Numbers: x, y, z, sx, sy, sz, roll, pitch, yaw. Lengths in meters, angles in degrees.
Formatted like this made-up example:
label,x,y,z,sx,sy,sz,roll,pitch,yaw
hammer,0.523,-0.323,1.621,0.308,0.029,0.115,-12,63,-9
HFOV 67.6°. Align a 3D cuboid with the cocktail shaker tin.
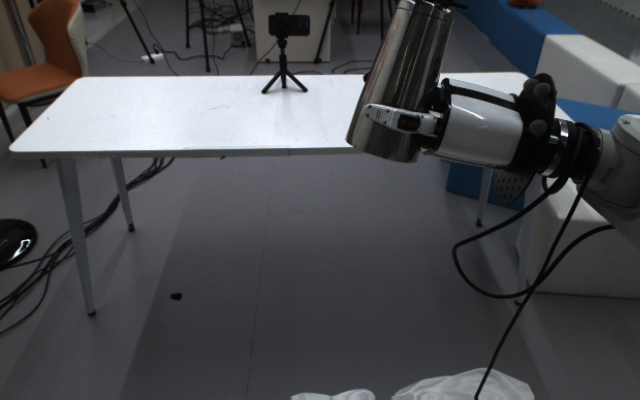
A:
label,x,y,z,sx,sy,sz,roll,pitch,yaw
cocktail shaker tin,0.098,-0.140,0.569,0.093,0.170,0.093,14,20,-5
